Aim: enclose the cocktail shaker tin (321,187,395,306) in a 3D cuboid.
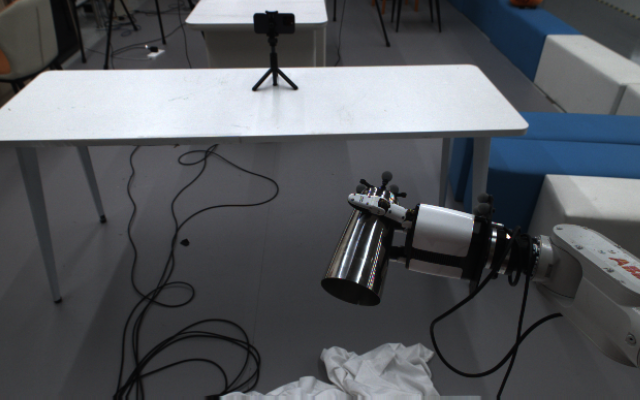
[{"bbox_3d":[0.070,0.063,0.751,0.093,0.093,0.170,13,59,16],"label":"cocktail shaker tin"}]
